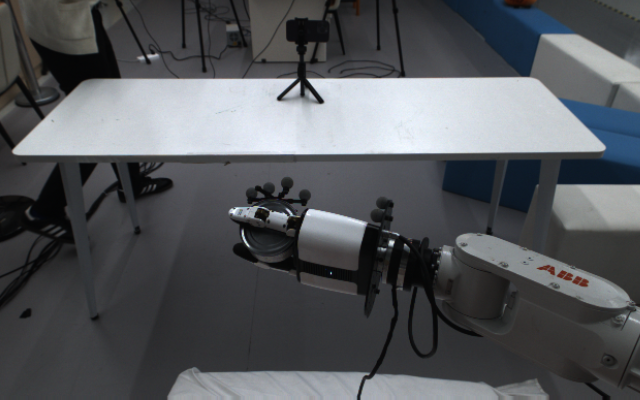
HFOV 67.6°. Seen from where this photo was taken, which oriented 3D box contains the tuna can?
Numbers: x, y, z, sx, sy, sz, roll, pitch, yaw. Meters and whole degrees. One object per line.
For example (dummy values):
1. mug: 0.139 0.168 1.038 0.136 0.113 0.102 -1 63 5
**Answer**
1. tuna can: -0.066 0.044 0.678 0.085 0.034 0.085 -3 61 6
